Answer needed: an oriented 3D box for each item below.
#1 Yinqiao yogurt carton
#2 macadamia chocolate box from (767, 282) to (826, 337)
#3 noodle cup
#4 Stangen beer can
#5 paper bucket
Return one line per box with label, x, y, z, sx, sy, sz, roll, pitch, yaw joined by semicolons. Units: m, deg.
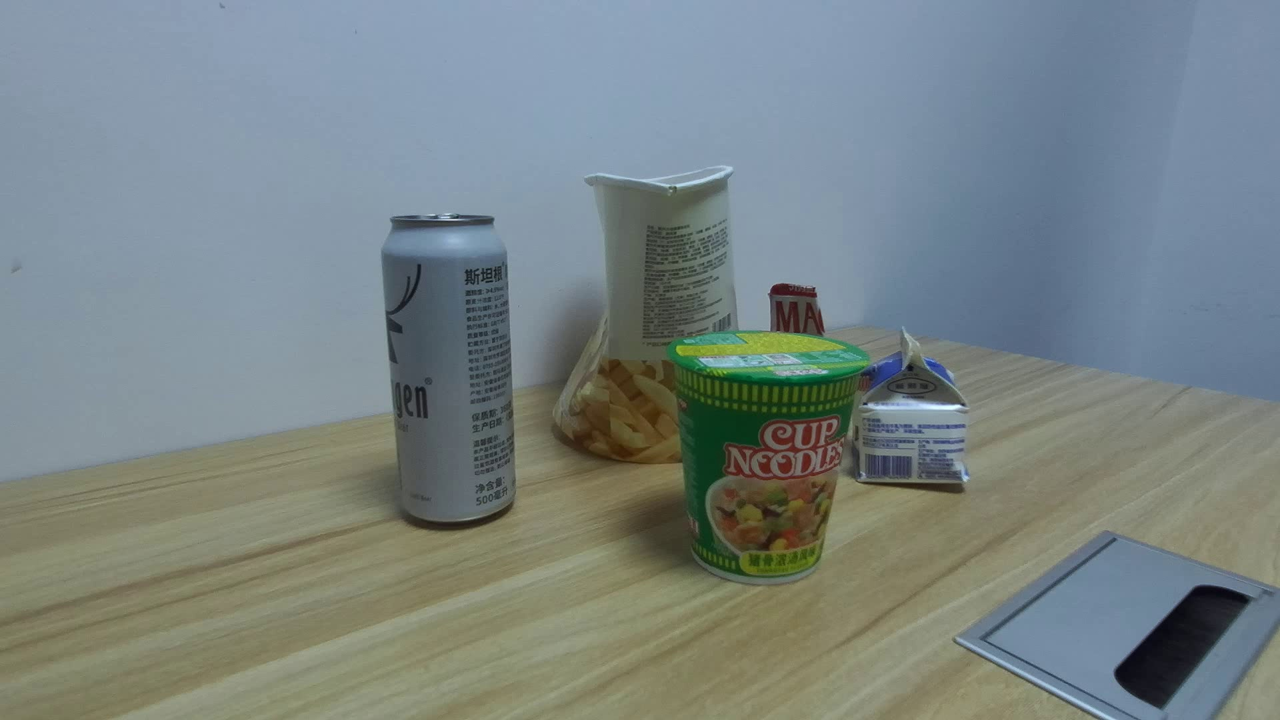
Yinqiao yogurt carton;0.178;0.029;0.472;0.071;0.094;0.077;-2;12;14
macadamia chocolate box;0.137;-0.017;0.610;0.056;0.112;0.126;2;14;7
noodle cup;0.063;0.048;0.357;0.097;0.110;0.097;0;14;0
Stangen beer can;-0.106;0.006;0.401;0.067;0.171;0.067;0;12;0
paper bucket;0.009;-0.039;0.526;0.148;0.199;0.217;-9;16;-33
